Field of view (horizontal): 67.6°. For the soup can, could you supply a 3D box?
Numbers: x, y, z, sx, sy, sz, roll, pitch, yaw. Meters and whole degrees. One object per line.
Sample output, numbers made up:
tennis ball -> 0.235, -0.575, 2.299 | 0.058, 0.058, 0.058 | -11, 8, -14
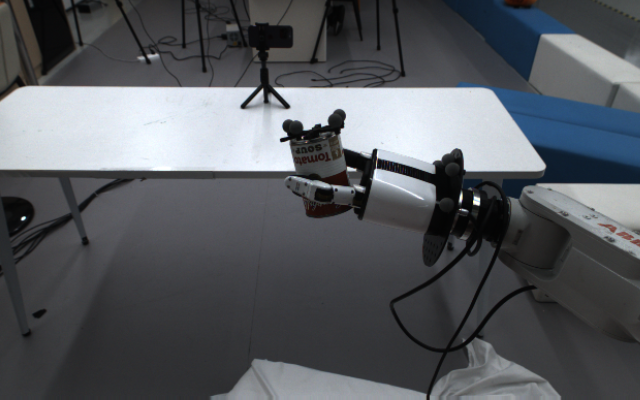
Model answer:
soup can -> 0.005, -0.035, 0.635 | 0.067, 0.101, 0.067 | -12, 17, 4
